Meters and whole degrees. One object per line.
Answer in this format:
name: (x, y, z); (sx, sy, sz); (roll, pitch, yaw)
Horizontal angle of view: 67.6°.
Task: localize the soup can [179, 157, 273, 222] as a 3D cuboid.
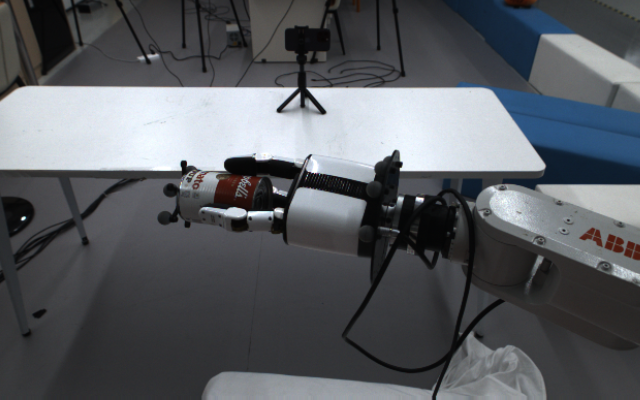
soup can: (-0.115, 0.000, 0.603); (0.101, 0.067, 0.067); (6, 35, 13)
